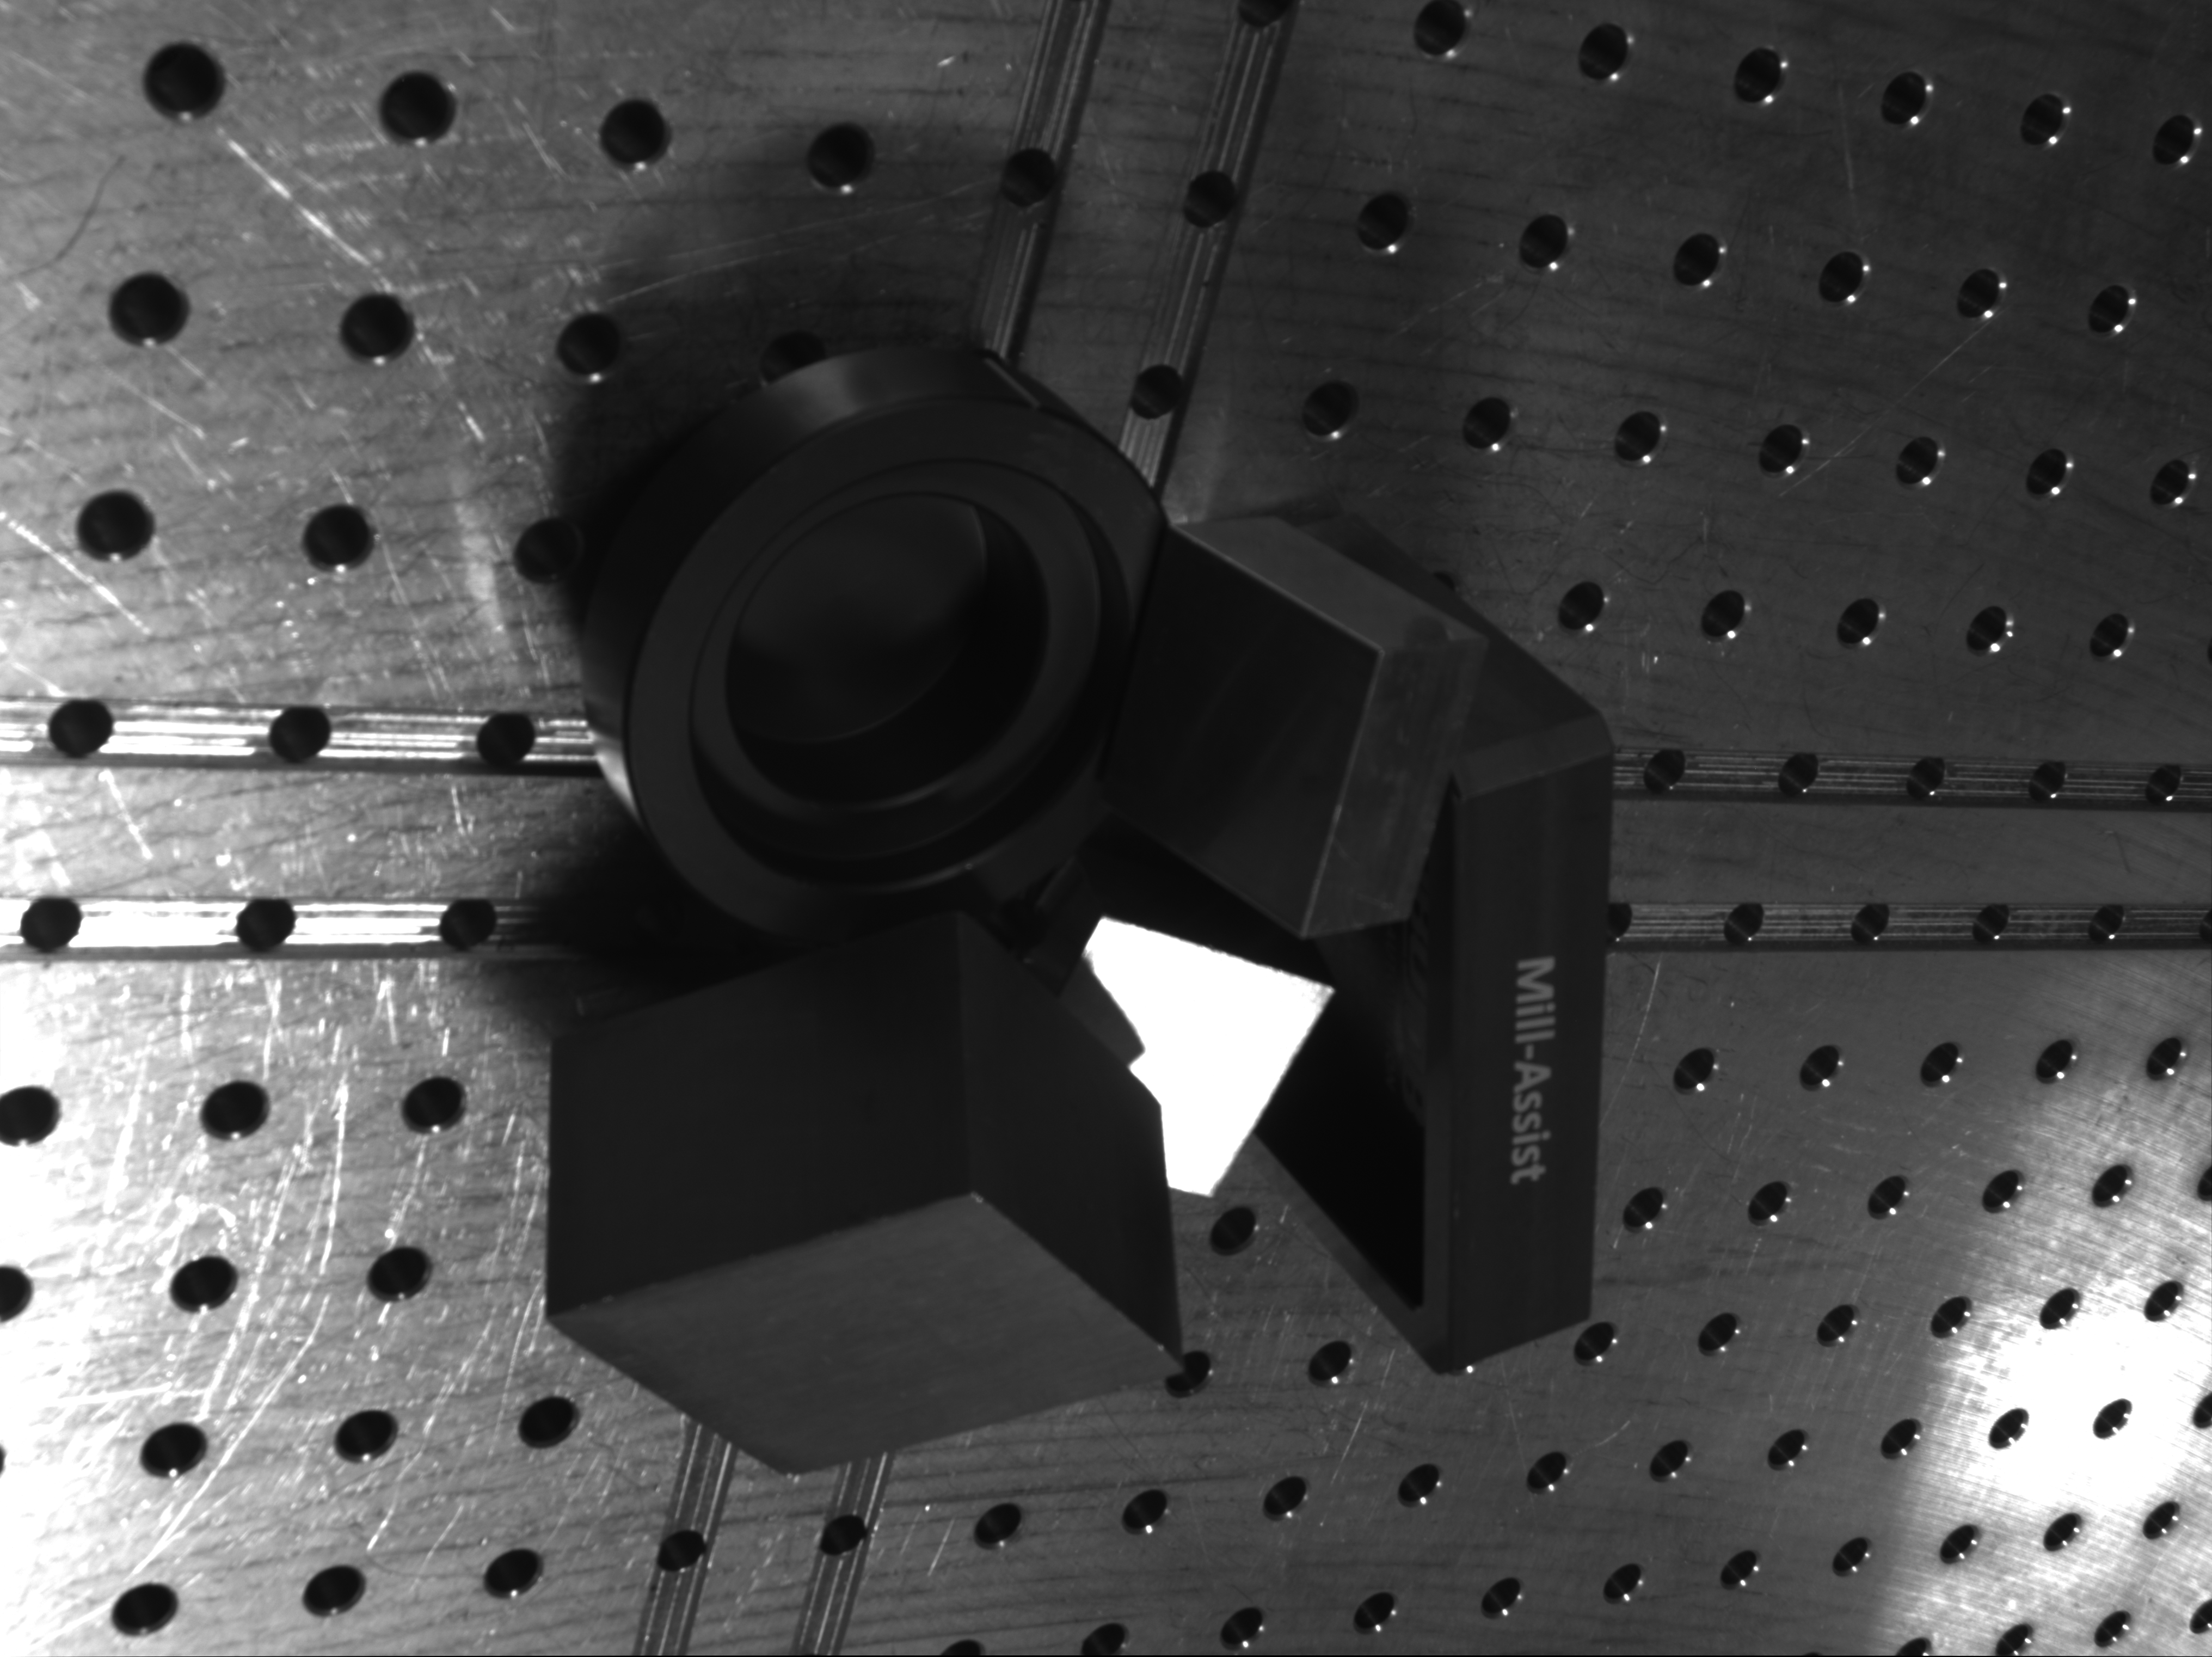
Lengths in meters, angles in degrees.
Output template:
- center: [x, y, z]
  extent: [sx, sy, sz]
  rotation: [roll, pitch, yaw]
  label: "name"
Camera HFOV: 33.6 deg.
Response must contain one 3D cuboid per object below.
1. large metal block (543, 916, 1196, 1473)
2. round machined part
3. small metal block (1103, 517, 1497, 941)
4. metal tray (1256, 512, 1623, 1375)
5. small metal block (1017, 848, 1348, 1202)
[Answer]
- center: [-0.040, 0.065, 0.625]
  extent: [0.080, 0.050, 0.080]
  rotation: [-17, 146, 20]
  label: "large metal block"
- center: [-0.039, -0.033, 0.599]
  extent: [0.098, 0.042, 0.098]
  rotation: [-15, 125, -22]
  label: "round machined part"
- center: [0.030, -0.017, 0.591]
  extent: [0.025, 0.050, 0.050]
  rotation: [-9, 122, -42]
  label: "small metal block"
- center: [0.053, 0.021, 0.655]
  extent: [0.030, 0.090, 0.130]
  rotation: [-17, 125, -21]
  label: "metal tray"
- center: [0.008, 0.036, 0.675]
  extent: [0.050, 0.025, 0.050]
  rotation: [18, 113, -25]
  label: "small metal block"
